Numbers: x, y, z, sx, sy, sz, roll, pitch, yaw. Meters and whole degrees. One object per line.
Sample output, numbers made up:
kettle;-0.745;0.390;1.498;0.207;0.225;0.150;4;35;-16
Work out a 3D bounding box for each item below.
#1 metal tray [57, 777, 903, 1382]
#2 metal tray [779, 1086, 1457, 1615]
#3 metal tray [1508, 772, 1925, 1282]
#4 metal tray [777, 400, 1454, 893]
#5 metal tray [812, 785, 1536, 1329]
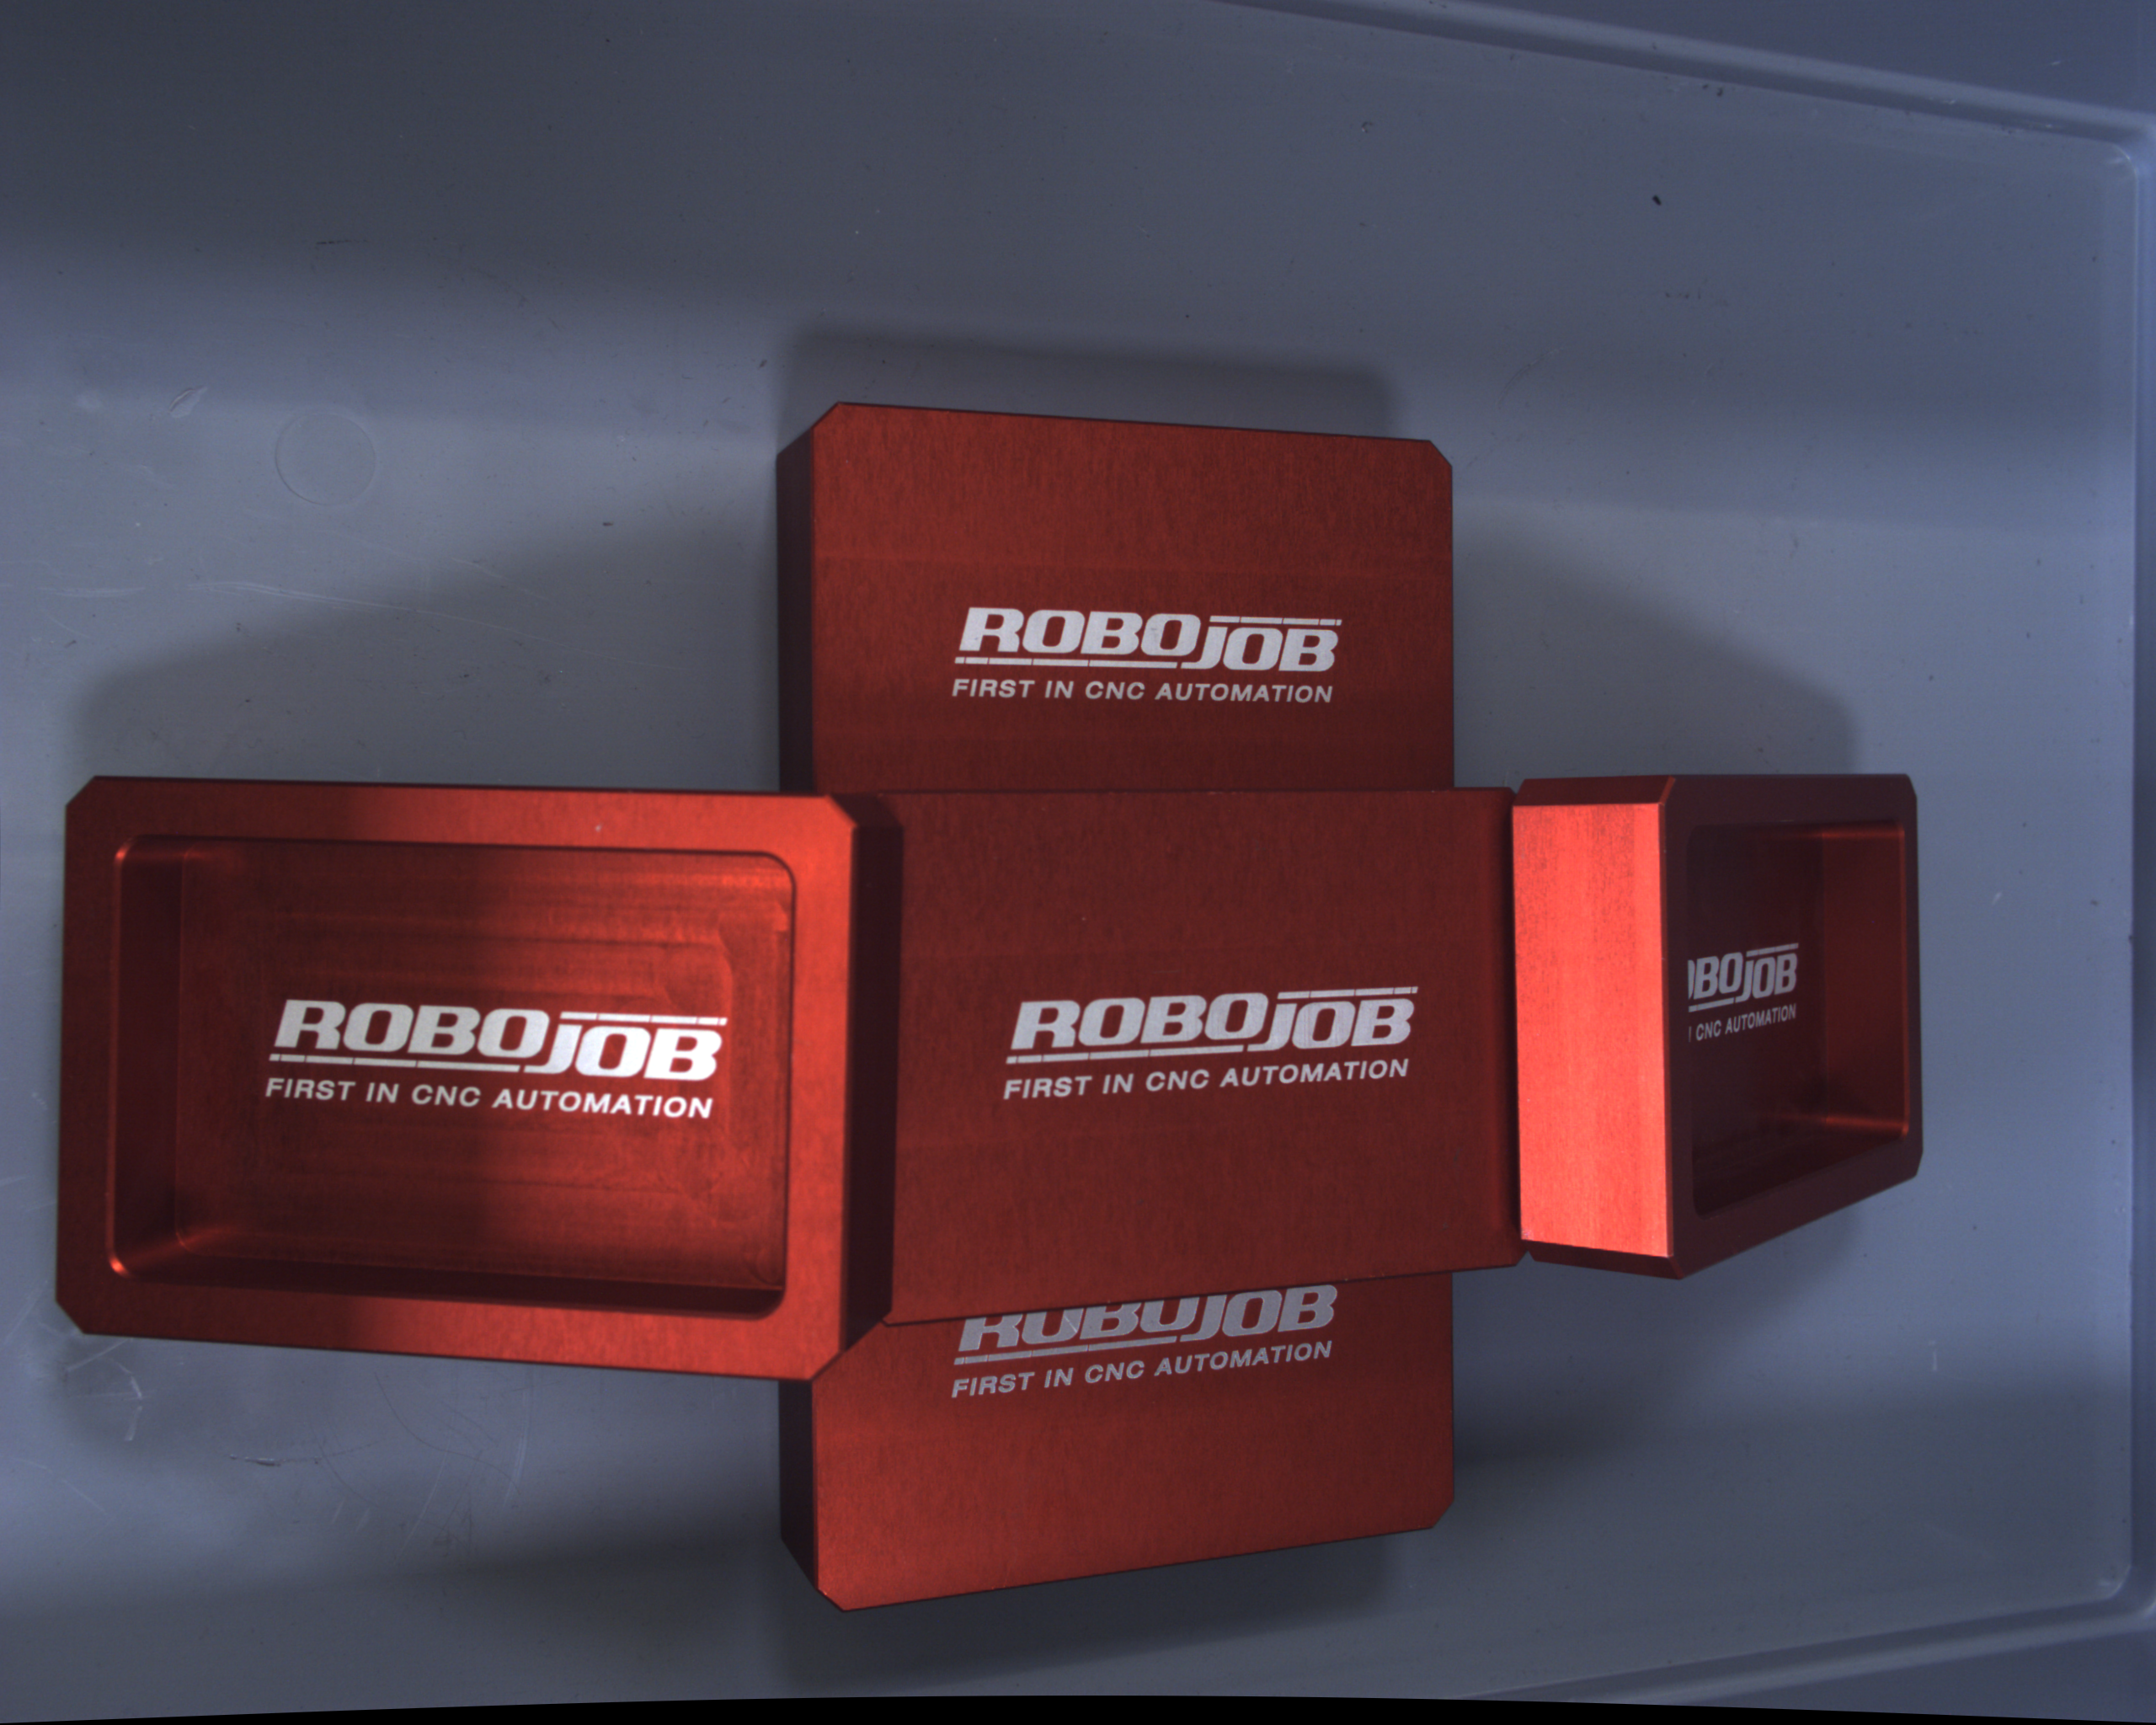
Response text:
metal tray;-0.096;0.032;0.338;0.131;0.030;0.089;1;91;9
metal tray;0.009;0.090;0.408;0.131;0.030;0.089;-1;90;-21
metal tray;0.133;0.027;0.422;0.131;0.030;0.089;-3;92;-49
metal tray;0.009;-0.039;0.408;0.131;0.030;0.089;-1;90;-21
metal tray;0.019;0.032;0.381;0.131;0.030;0.089;-1;90;-21
